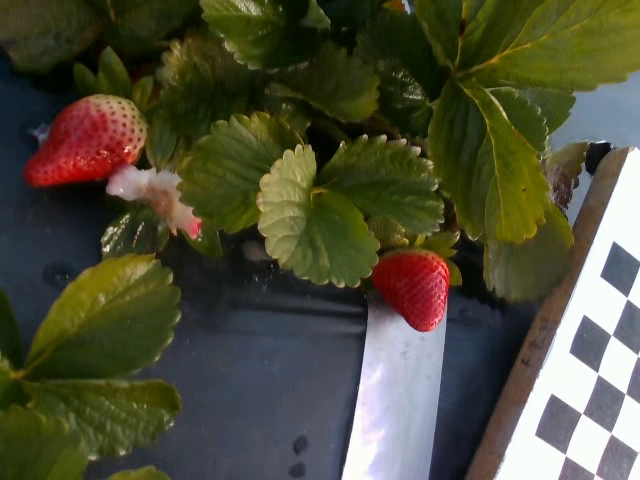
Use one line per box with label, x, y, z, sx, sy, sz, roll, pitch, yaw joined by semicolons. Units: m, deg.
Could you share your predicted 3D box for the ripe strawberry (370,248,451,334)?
ripe strawberry;0.048;0.026;0.275;0.050;0.055;0.035;31;-35;-25
